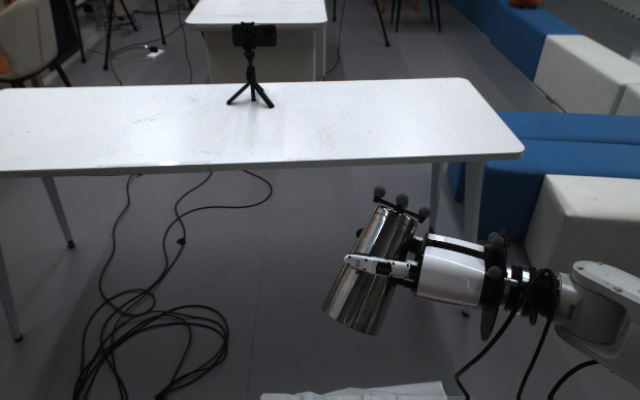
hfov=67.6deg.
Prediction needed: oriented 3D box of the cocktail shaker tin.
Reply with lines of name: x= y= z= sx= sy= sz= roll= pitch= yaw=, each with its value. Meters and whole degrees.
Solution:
cocktail shaker tin: x=0.080 y=0.094 z=0.704 sx=0.093 sy=0.170 sz=0.093 roll=23 pitch=0 yaw=0
